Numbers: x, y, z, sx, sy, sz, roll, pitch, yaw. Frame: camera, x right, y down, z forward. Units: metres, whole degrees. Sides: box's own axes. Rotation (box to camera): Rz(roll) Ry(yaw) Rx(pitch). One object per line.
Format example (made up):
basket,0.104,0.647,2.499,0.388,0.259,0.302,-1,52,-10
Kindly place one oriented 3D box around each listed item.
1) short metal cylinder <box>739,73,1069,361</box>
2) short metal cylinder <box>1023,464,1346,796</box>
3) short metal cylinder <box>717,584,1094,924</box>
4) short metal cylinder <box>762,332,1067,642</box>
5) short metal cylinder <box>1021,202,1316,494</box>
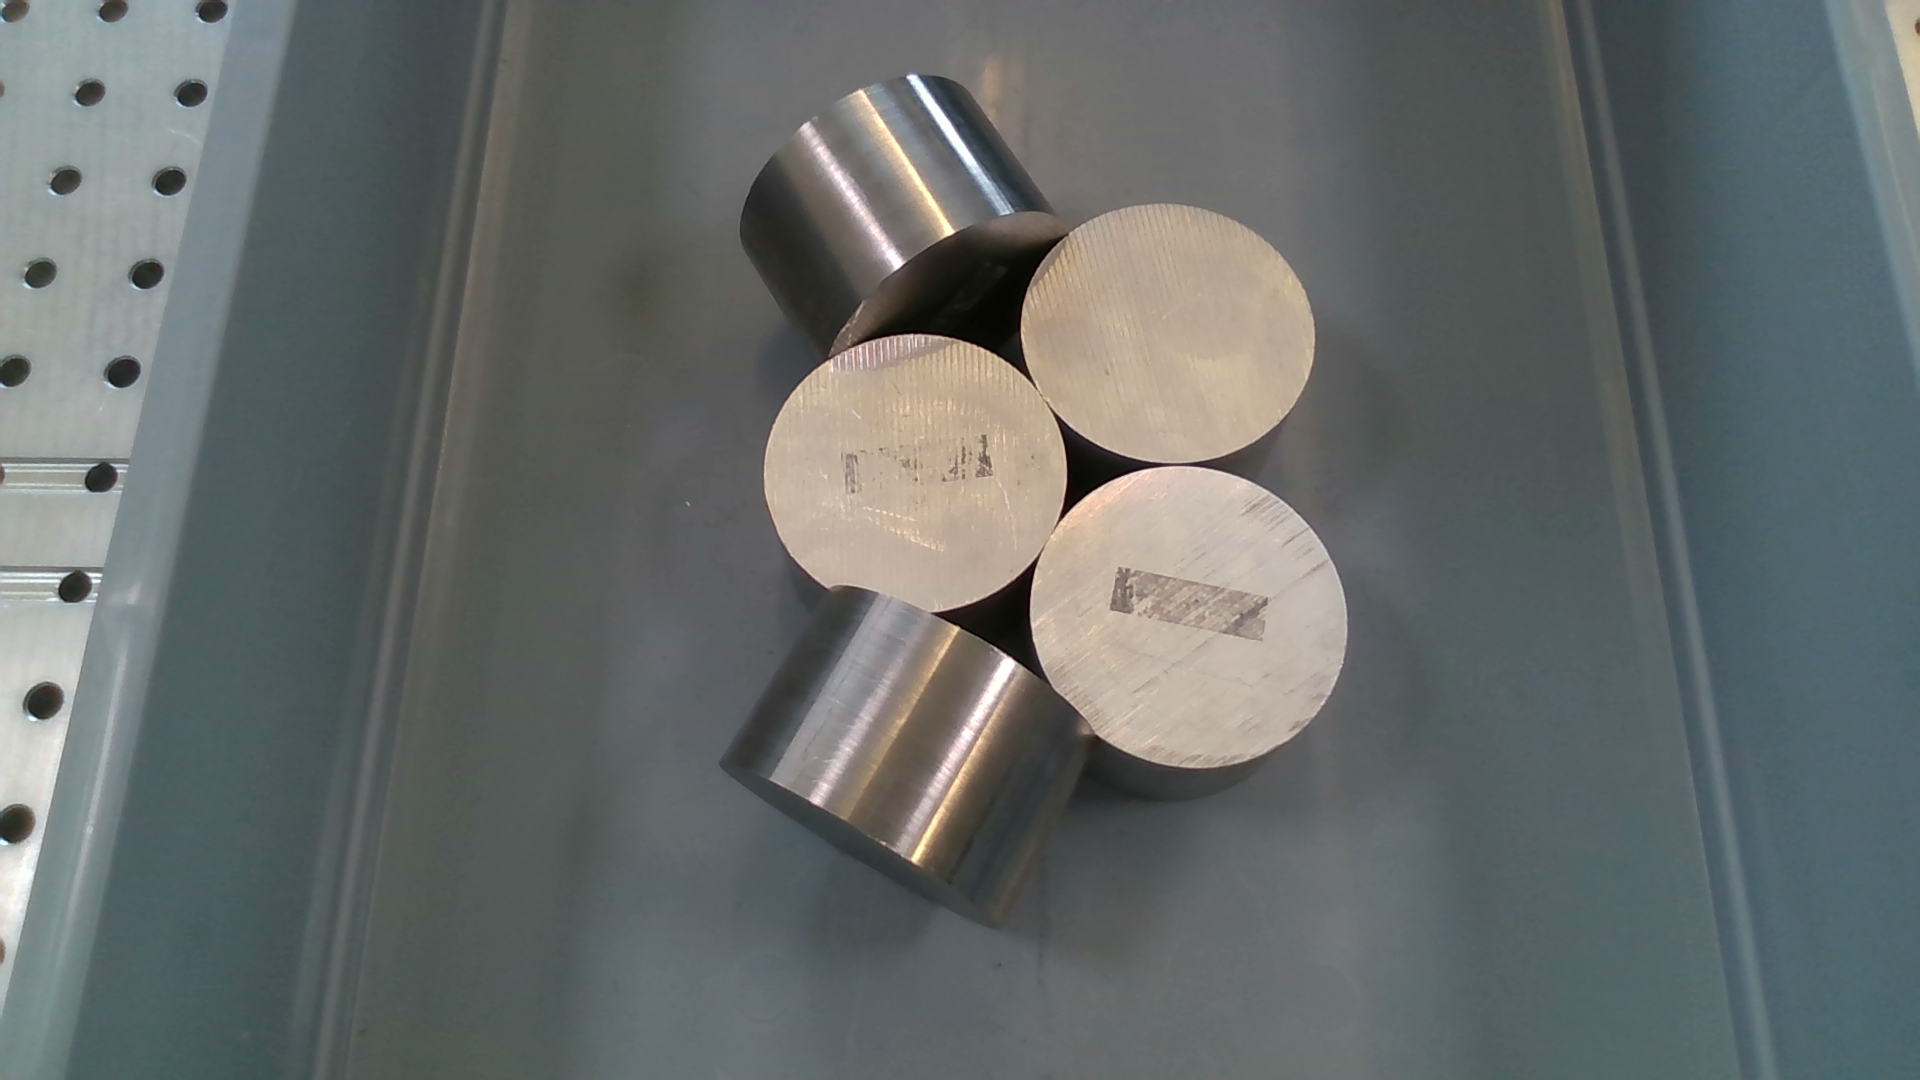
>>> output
short metal cylinder,-0.016,-0.085,0.396,0.080,0.080,0.050,-29,73,-10
short metal cylinder,0.058,0.026,0.372,0.080,0.050,0.080,0,70,0
short metal cylinder,-0.013,0.054,0.346,0.080,0.080,0.050,28,72,10
short metal cylinder,-0.012,-0.011,0.385,0.080,0.050,0.080,0,70,0
short metal cylinder,0.057,-0.049,0.399,0.080,0.050,0.080,0,70,0
